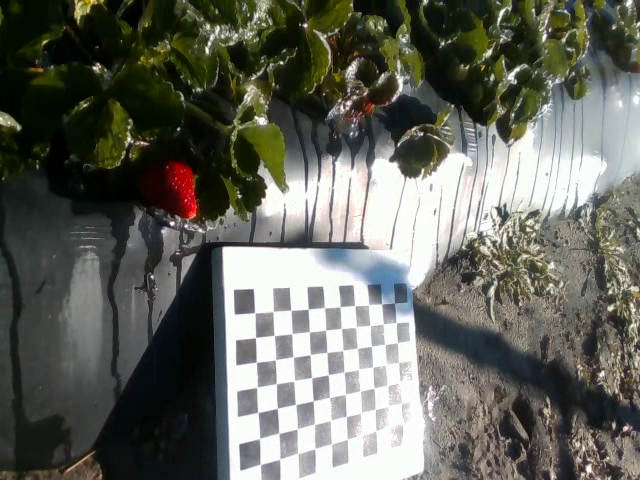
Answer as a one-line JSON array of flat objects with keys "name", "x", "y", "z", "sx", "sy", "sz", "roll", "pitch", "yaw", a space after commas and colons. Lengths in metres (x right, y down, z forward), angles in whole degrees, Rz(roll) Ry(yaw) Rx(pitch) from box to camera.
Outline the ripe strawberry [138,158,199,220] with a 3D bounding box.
[{"name": "ripe strawberry", "x": -0.100, "y": -0.033, "z": 0.425, "sx": 0.041, "sy": 0.052, "sz": 0.047, "roll": -7, "pitch": -38, "yaw": -44}]
